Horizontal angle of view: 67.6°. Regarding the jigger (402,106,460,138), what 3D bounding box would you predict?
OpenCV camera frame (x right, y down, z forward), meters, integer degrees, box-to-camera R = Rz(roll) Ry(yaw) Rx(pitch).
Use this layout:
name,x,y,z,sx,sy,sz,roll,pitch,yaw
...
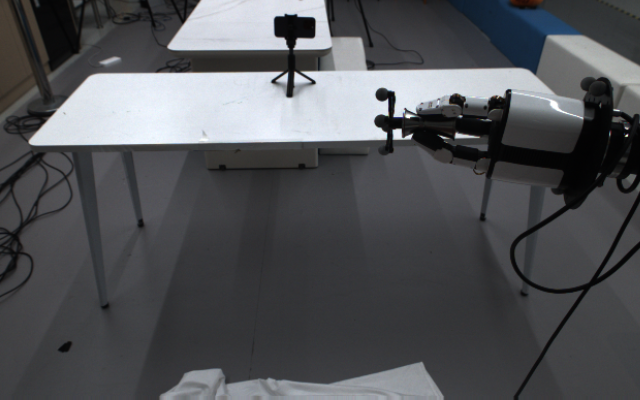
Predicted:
name,x,y,z,sx,sy,sz,roll,pitch,yaw
jigger,0.152,-0.106,0.644,0.071,0.043,0.043,3,34,14
